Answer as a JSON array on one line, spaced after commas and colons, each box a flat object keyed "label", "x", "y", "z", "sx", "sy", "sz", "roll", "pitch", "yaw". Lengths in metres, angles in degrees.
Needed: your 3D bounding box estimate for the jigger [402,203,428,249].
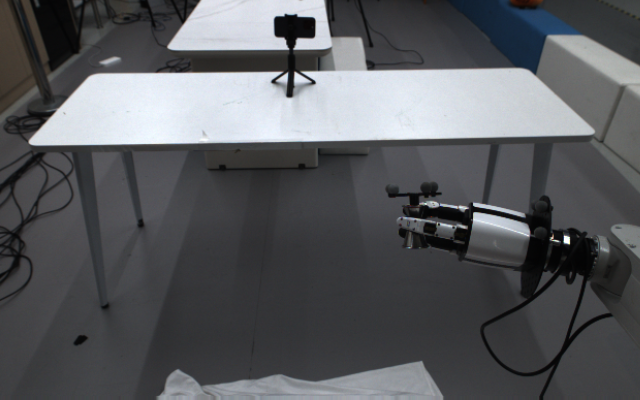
[{"label": "jigger", "x": 0.151, "y": 0.040, "z": 0.776, "sx": 0.043, "sy": 0.071, "sz": 0.043, "roll": -2, "pitch": 3, "yaw": 0}]
